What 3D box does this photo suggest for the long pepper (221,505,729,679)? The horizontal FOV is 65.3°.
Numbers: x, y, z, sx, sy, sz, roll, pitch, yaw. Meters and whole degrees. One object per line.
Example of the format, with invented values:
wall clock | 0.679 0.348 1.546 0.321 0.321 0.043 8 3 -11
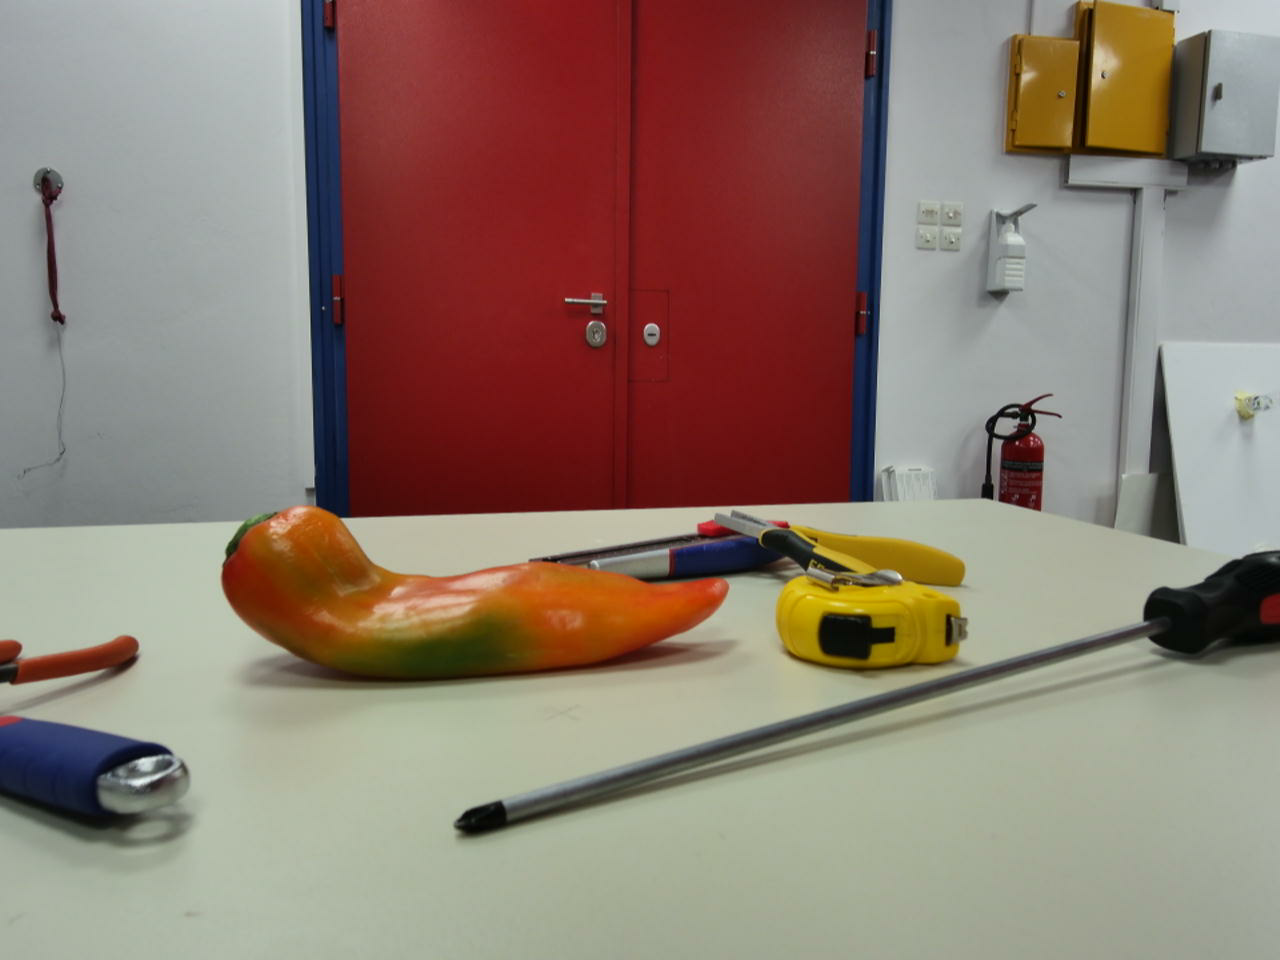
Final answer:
long pepper | -0.060 0.041 0.397 0.199 0.065 0.066 -1 4 -8
